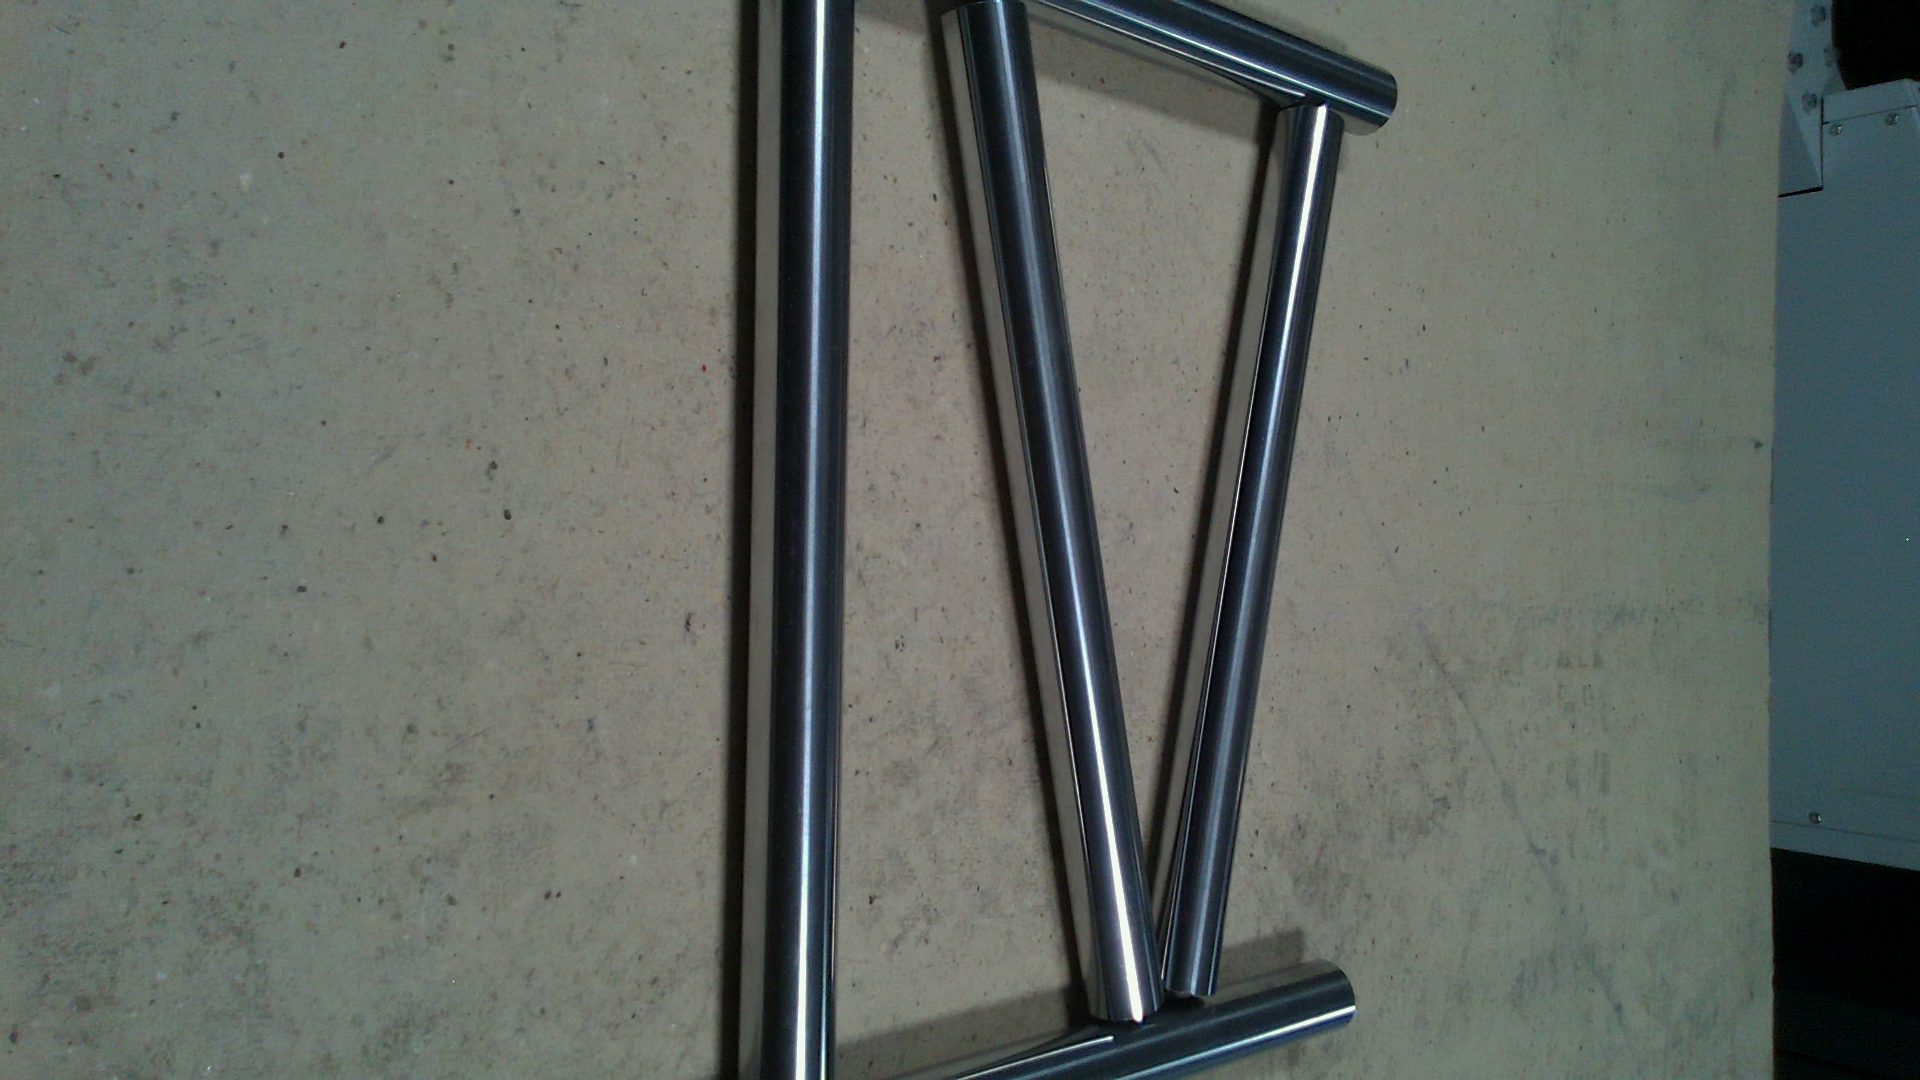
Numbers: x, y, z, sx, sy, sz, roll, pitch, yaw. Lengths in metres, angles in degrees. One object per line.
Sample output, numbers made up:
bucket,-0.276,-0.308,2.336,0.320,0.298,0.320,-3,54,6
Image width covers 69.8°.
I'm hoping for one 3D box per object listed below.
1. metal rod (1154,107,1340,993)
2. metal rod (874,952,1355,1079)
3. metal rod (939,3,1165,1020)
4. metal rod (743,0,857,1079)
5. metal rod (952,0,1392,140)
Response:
metal rod,0.097,-0.002,0.468,0.025,0.025,0.300,17,79,-39
metal rod,0.017,0.159,0.402,0.301,0.025,0.025,1,89,-40
metal rod,0.029,-0.003,0.412,0.025,0.025,0.300,-15,99,-39
metal rod,-0.041,-0.005,0.354,0.025,0.025,0.300,1,89,-40
metal rod,0.035,-0.165,0.418,0.301,0.025,0.025,1,89,-40
